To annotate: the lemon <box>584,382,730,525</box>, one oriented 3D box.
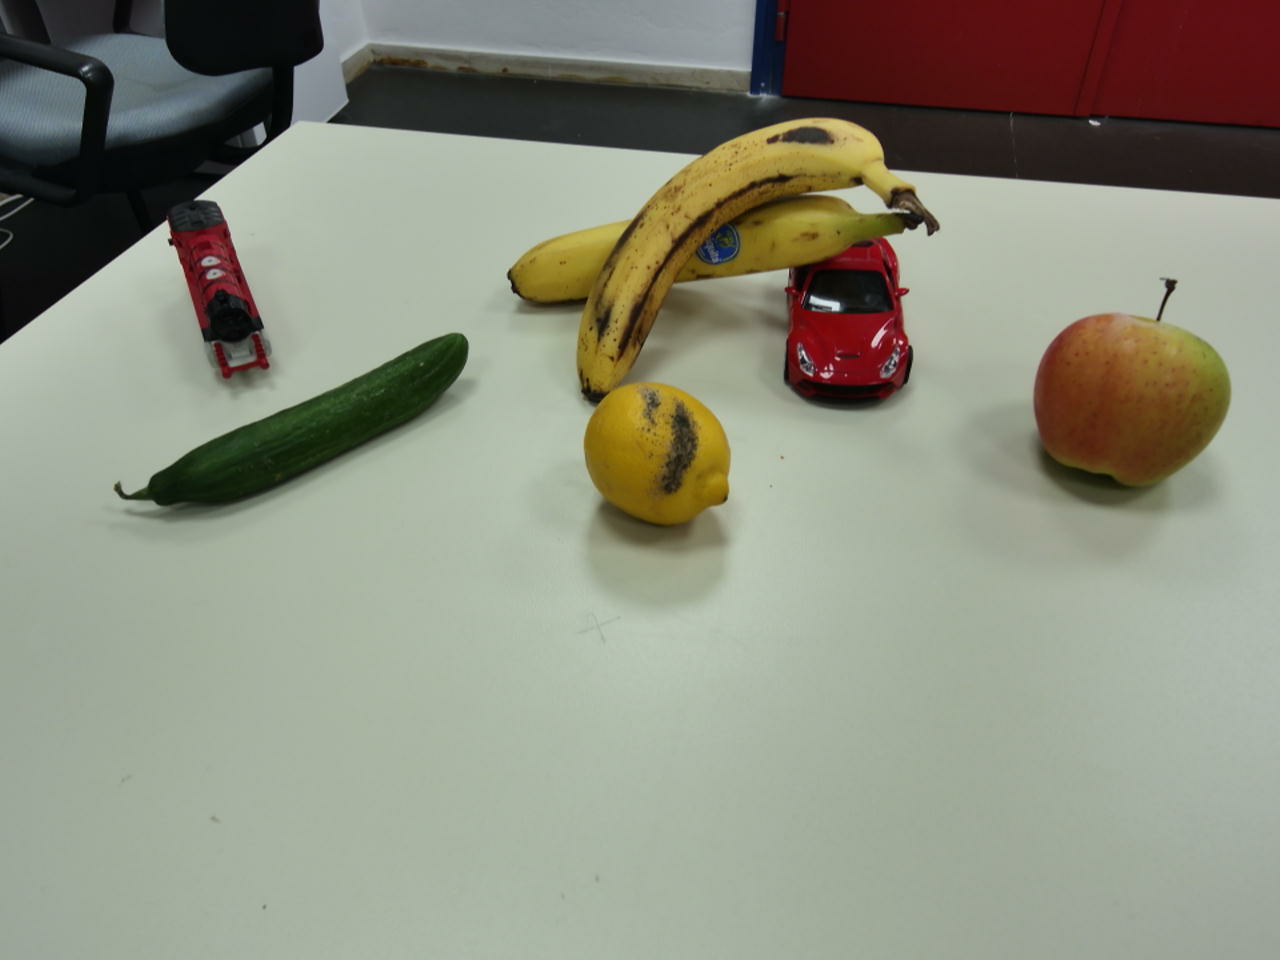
[{"bbox_3d":[0.008,-0.011,0.417,0.061,0.056,0.058,5,38,5],"label":"lemon"}]
